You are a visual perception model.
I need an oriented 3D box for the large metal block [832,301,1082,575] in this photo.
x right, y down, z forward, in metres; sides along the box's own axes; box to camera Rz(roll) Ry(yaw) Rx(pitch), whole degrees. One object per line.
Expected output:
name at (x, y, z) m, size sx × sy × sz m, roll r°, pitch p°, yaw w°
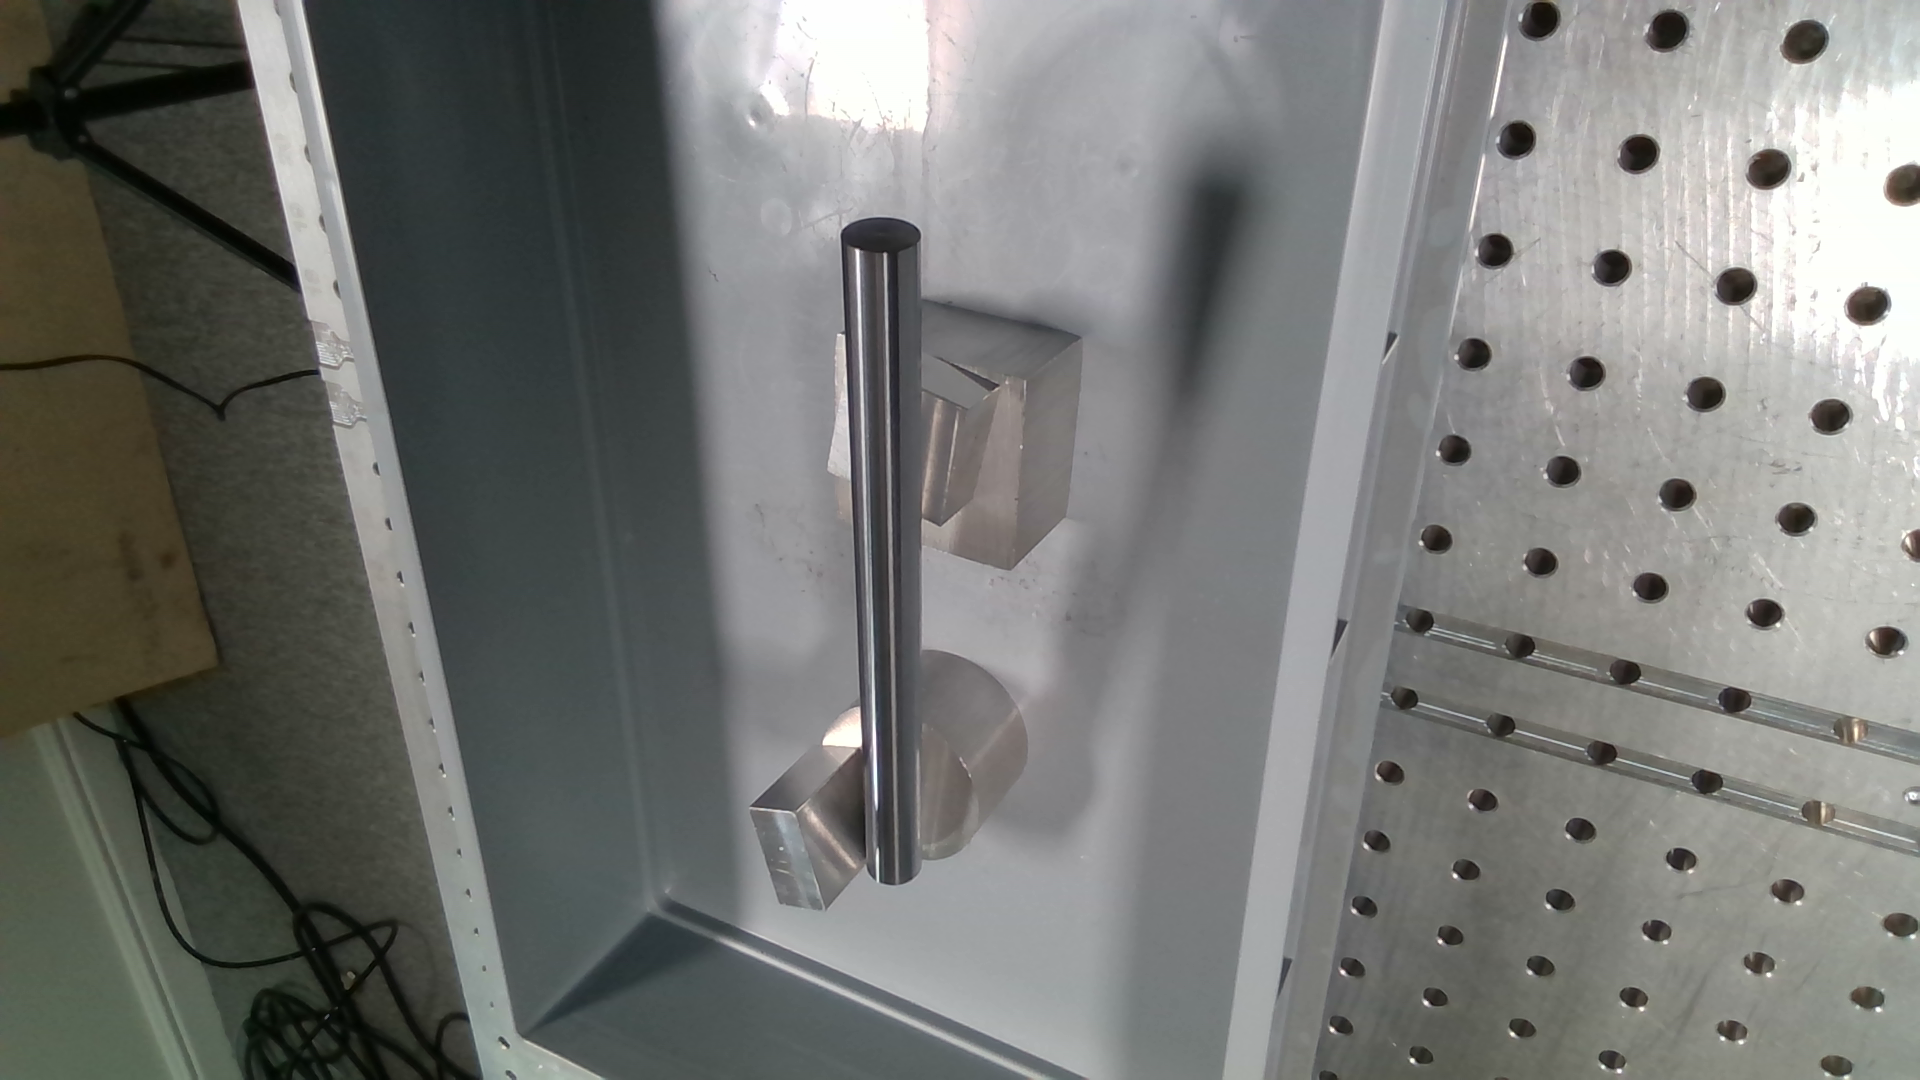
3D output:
large metal block at (-0.002, -0.042, 0.539) m, size 0.080 × 0.050 × 0.080 m, roll 17°, pitch 123°, yaw 23°

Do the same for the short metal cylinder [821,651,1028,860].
short metal cylinder at (-0.016, 0.097, 0.625) m, size 0.080 × 0.050 × 0.080 m, roll 14°, pitch 122°, yaw 25°

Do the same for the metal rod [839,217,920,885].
metal rod at (-0.028, 0.024, 0.518) m, size 0.025 × 0.025 × 0.301 m, roll 19°, pitch 131°, yaw 22°

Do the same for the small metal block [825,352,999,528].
small metal block at (-0.018, -0.040, 0.503) m, size 0.050 × 0.025 × 0.050 m, roll 26°, pitch 126°, yaw 17°

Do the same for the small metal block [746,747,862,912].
small metal block at (-0.062, 0.125, 0.603) m, size 0.025 × 0.050 × 0.050 m, roll 0°, pitch 115°, yaw 32°
